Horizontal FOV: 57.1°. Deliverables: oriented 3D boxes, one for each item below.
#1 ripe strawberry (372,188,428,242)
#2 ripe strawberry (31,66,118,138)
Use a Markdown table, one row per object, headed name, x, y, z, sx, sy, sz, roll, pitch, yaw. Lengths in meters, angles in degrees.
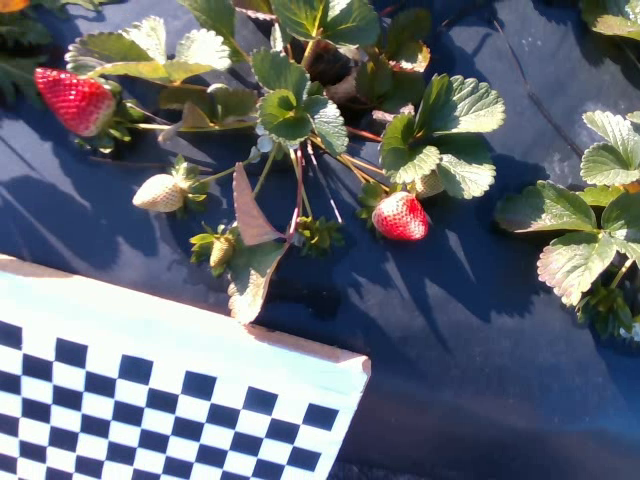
| name | x | y | z | sx | sy | sz | roll | pitch | yaw |
| --- | --- | --- | --- | --- | --- | --- | --- | --- | --- |
| ripe strawberry | 0.053 | -0.013 | 0.357 | 0.042 | 0.037 | 0.045 | -13 | 30 | -22 |
| ripe strawberry | -0.143 | -0.085 | 0.342 | 0.053 | 0.043 | 0.036 | 38 | 24 | -24 |
